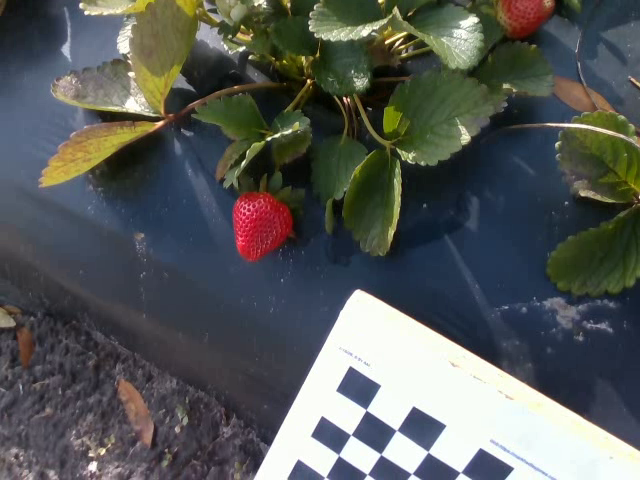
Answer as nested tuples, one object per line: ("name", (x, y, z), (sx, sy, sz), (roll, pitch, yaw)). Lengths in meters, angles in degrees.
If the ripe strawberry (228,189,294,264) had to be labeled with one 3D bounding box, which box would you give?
("ripe strawberry", (-0.034, -0.006, 0.307), (0.041, 0.047, 0.041), (6, -35, 32))
